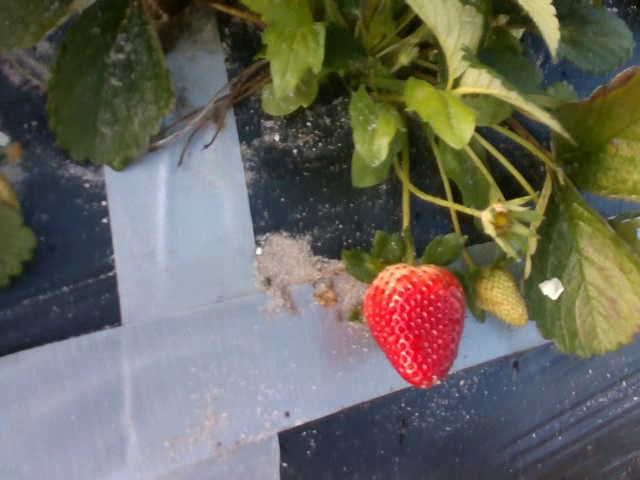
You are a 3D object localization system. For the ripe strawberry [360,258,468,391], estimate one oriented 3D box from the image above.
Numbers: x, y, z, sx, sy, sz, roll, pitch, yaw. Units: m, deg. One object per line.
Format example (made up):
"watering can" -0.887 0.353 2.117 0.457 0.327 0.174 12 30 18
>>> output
"ripe strawberry" 0.019 0.016 0.116 0.023 0.026 0.021 1 -36 0
